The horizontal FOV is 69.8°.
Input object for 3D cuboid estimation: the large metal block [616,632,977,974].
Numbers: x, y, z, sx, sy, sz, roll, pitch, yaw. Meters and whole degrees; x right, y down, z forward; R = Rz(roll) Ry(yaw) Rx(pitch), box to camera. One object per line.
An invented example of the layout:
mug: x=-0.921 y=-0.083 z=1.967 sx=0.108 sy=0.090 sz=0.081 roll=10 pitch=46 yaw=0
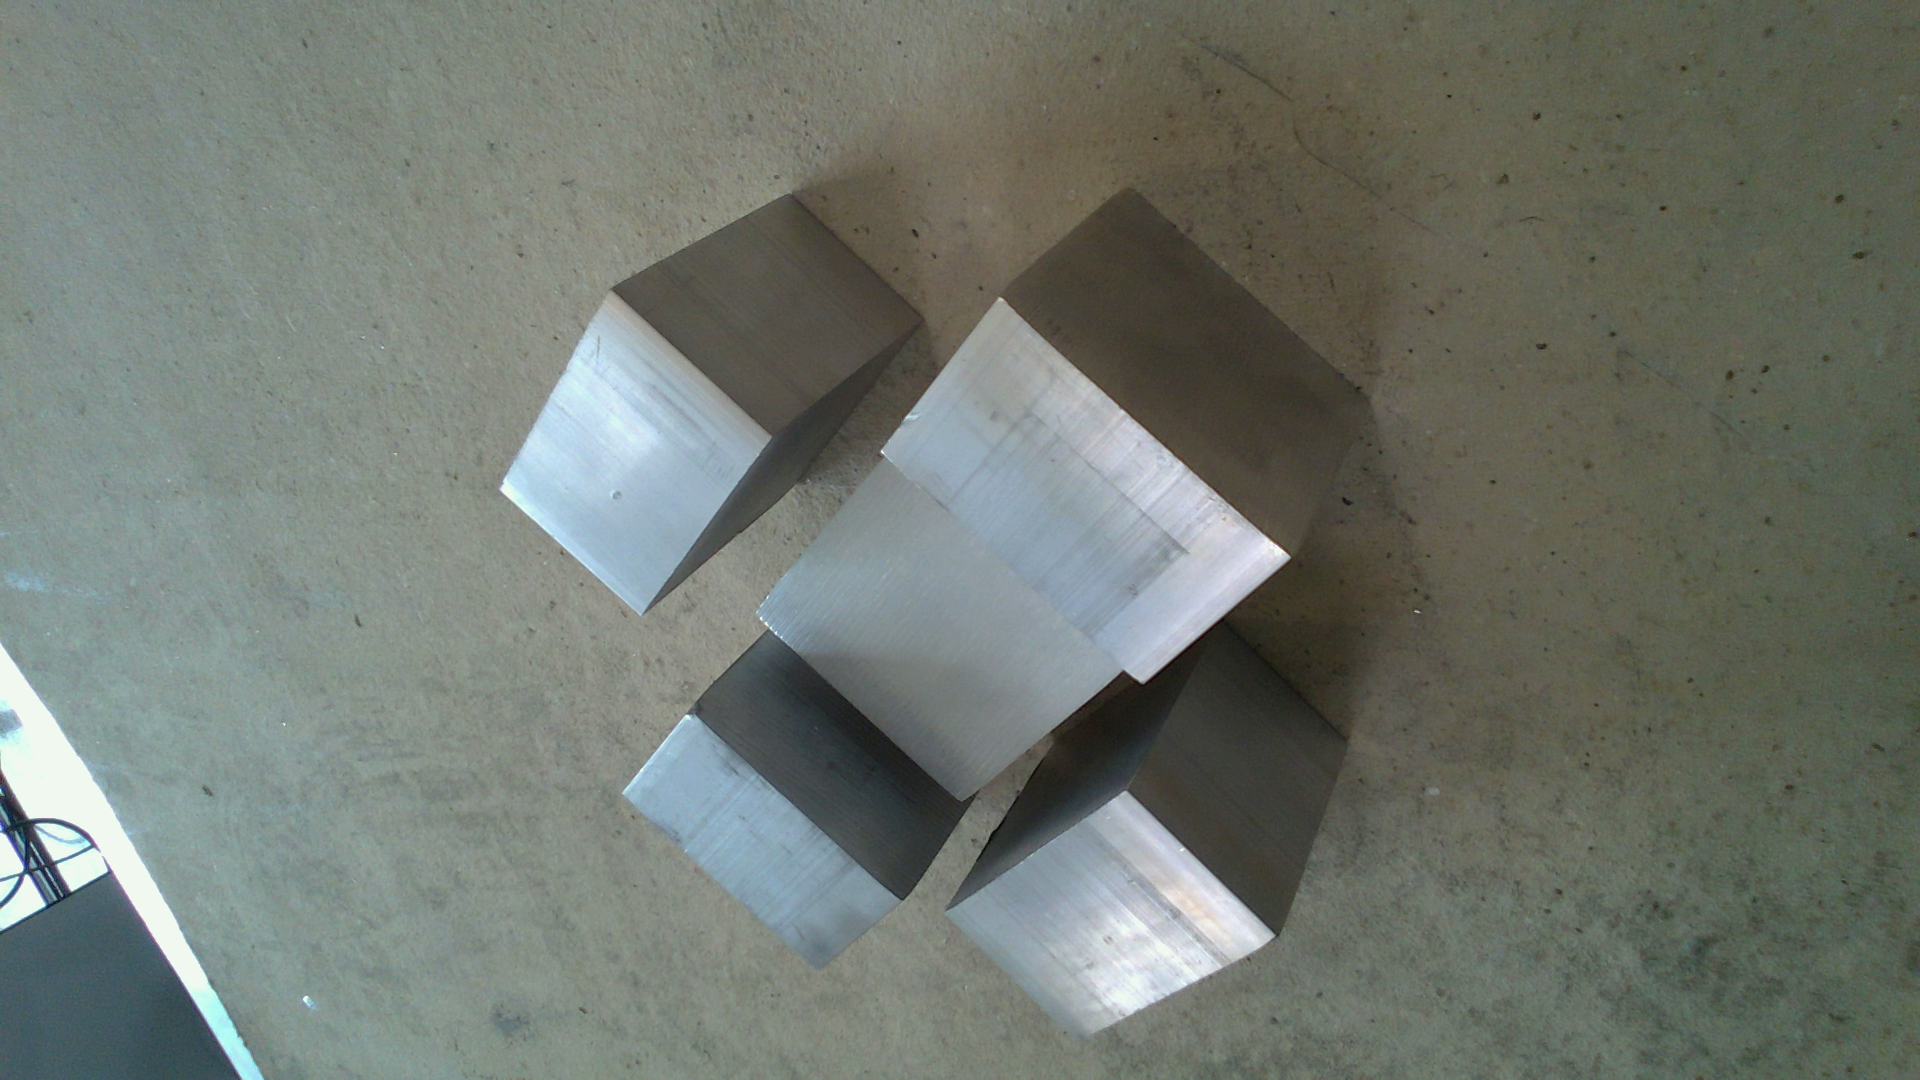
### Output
large metal block: x=-0.042 y=0.068 z=0.422 sx=0.080 sy=0.080 sz=0.050 roll=42 pitch=129 yaw=-1

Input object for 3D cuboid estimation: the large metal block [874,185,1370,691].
large metal block: x=0.041 y=-0.026 z=0.319 sx=0.080 sy=0.080 sz=0.050 roll=42 pitch=129 yaw=0

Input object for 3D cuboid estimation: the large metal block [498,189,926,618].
large metal block: x=-0.066 y=-0.038 z=0.371 sx=0.050 sy=0.080 sz=0.080 roll=43 pitch=129 yaw=-1

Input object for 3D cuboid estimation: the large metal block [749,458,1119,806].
large metal block: x=0.002 y=0.014 z=0.381 sx=0.080 sy=0.050 sz=0.080 roll=43 pitch=129 yaw=-1

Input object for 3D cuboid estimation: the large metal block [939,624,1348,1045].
large metal block: x=0.051 y=0.079 z=0.378 sx=0.050 sy=0.080 sz=0.080 roll=44 pitch=129 yaw=-2
